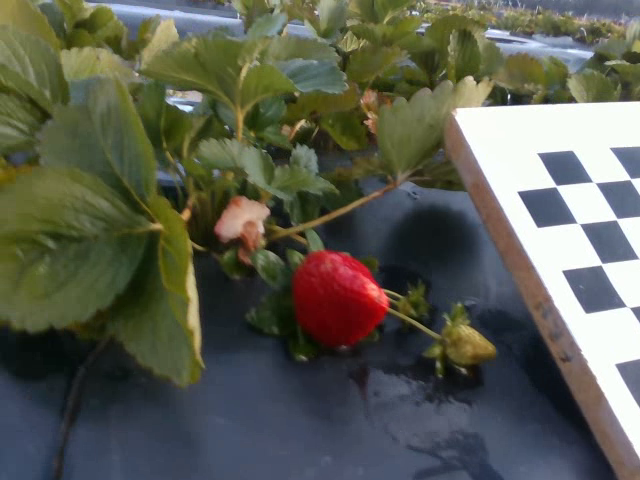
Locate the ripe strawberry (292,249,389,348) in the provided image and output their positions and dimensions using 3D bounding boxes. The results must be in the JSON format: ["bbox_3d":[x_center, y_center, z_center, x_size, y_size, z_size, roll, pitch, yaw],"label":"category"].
[{"bbox_3d":[0.015,0.026,0.279,0.043,0.052,0.057,-33,6,-24],"label":"ripe strawberry"}]
